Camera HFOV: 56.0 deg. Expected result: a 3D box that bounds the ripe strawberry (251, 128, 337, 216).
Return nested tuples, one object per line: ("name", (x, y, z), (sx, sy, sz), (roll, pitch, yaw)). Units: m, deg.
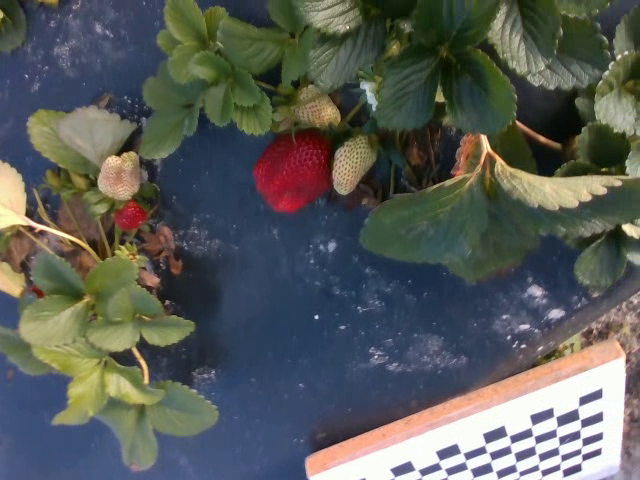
("ripe strawberry", (-0.020, -0.048, 0.434), (0.070, 0.058, 0.057), (-34, 47, -18))
